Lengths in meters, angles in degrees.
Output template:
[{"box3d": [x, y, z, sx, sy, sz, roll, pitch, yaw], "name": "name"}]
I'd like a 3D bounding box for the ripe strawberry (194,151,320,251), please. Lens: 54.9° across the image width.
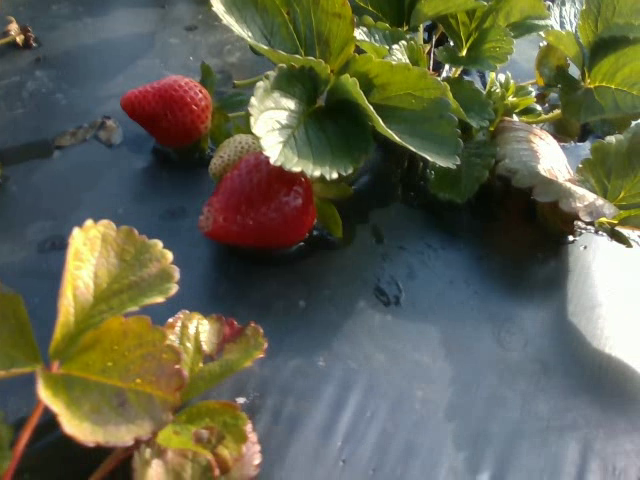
[{"box3d": [-0.032, -0.017, 0.277, 0.064, 0.050, 0.048, -39, 15, -29], "name": "ripe strawberry"}]
